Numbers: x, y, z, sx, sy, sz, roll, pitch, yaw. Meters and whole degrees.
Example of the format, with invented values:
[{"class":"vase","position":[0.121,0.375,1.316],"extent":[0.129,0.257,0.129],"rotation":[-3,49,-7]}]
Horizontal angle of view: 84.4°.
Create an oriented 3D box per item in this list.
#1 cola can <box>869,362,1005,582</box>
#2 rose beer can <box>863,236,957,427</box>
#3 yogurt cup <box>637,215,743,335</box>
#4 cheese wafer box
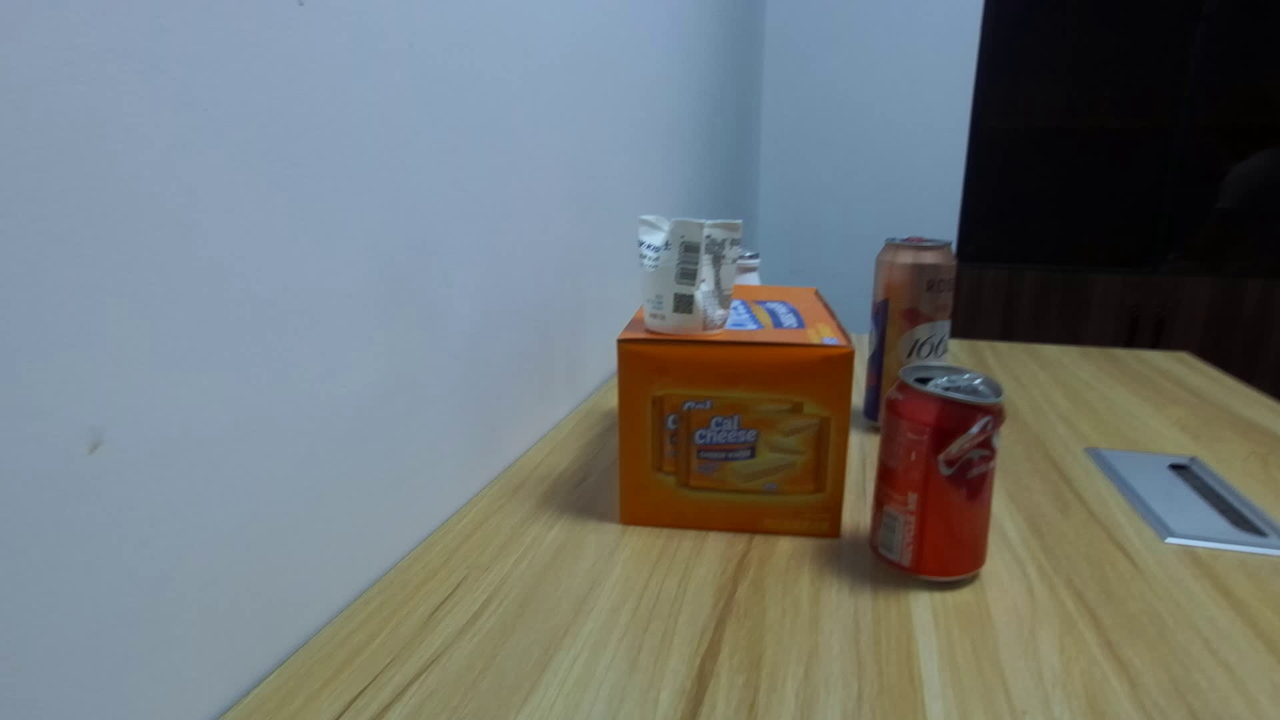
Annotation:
[{"class":"cola can","position":[0.170,0.063,0.406],"extent":[0.072,0.117,0.065],"rotation":[-10,18,-30]},{"class":"rose beer can","position":[0.234,-0.019,0.621],"extent":[0.068,0.169,0.068],"rotation":[4,8,0]},{"class":"yogurt cup","position":[0.029,-0.054,0.447],"extent":[0.055,0.072,0.054],"rotation":[-11,19,-34]},{"class":"cheese wafer box","position":[0.071,0.024,0.539],"extent":[0.148,0.129,0.222],"rotation":[2,14,7]}]
